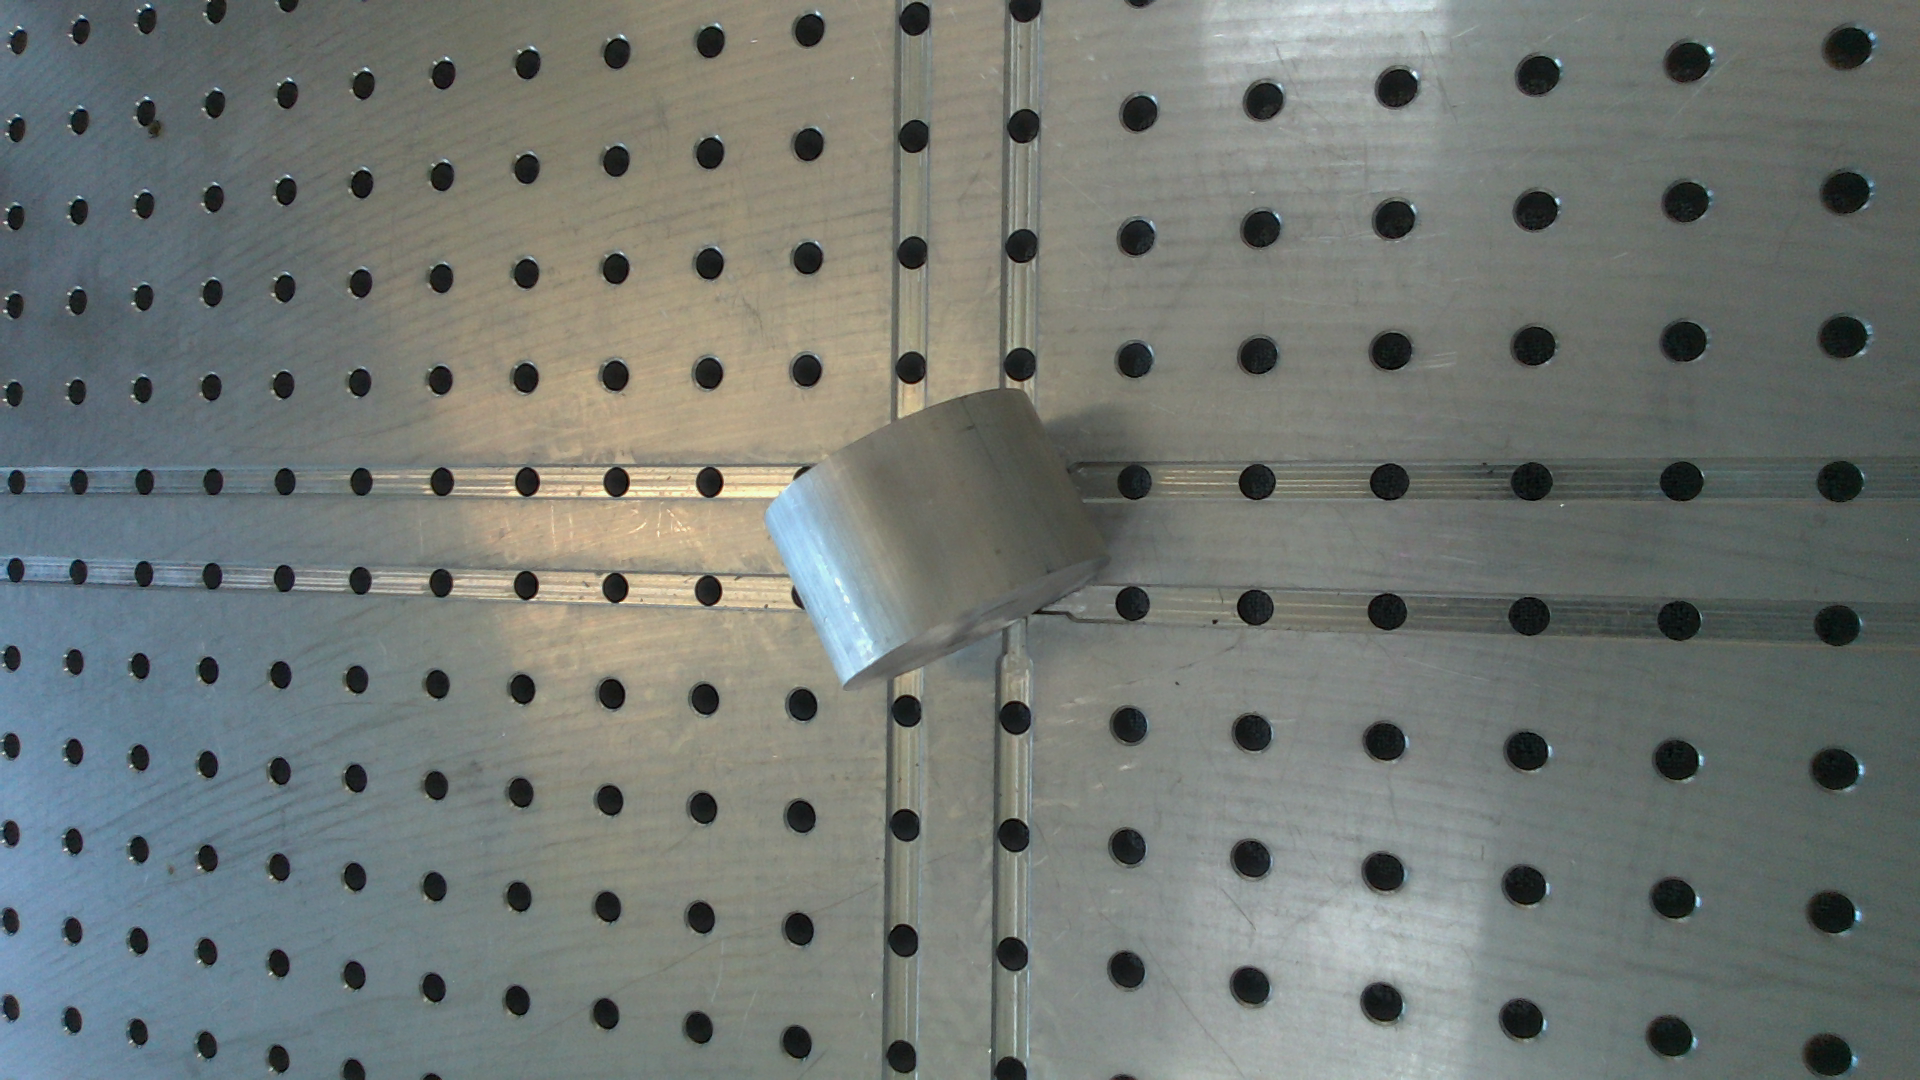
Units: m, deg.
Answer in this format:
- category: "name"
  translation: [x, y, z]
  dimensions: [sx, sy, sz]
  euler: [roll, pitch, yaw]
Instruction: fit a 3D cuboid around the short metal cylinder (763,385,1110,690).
- category: "short metal cylinder"
  translation: [-0.006, 0.000, 0.371]
  dimensions: [0.080, 0.080, 0.050]
  euler: [-30, 79, 18]
